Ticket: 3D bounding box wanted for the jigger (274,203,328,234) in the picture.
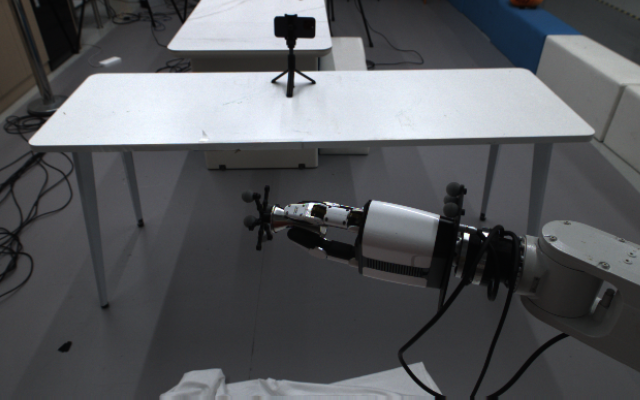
[{"bbox_3d":[-0.019,0.022,0.638,0.071,0.043,0.043,2,34,14],"label":"jigger"}]
